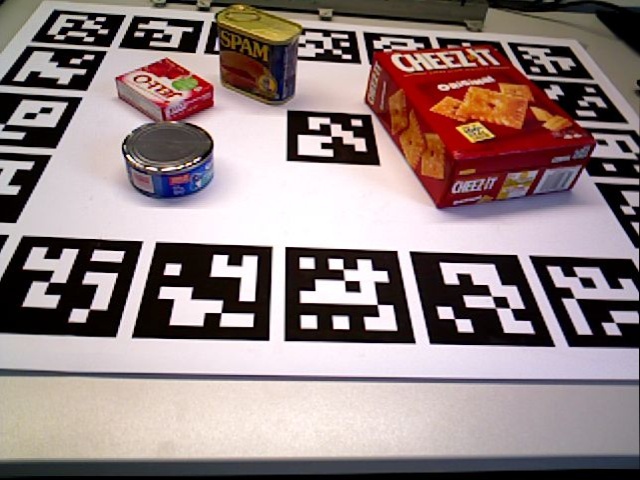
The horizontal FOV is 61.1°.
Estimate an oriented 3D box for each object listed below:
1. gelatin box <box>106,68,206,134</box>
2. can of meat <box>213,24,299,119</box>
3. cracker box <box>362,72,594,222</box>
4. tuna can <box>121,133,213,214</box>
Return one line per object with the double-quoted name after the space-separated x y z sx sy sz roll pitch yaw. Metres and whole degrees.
-0.190 -0.162 0.630 0.089 0.031 0.071 34 47 21 "gelatin box"
-0.079 -0.203 0.660 0.102 0.086 0.056 23 45 16 "can of meat"
0.166 -0.119 0.611 0.162 0.074 0.211 -9 45 -19 "cracker box"
-0.147 -0.066 0.530 0.085 0.034 0.084 3 47 -4 "tuna can"
